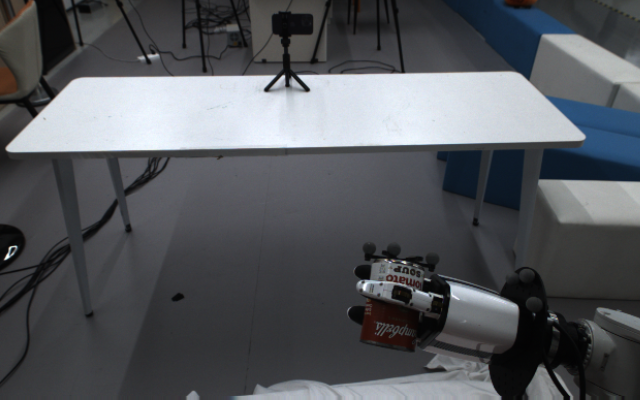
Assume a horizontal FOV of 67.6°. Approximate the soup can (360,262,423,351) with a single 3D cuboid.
[{"bbox_3d":[0.091,0.129,0.592,0.067,0.067,0.101,8,71,9],"label":"soup can"}]
